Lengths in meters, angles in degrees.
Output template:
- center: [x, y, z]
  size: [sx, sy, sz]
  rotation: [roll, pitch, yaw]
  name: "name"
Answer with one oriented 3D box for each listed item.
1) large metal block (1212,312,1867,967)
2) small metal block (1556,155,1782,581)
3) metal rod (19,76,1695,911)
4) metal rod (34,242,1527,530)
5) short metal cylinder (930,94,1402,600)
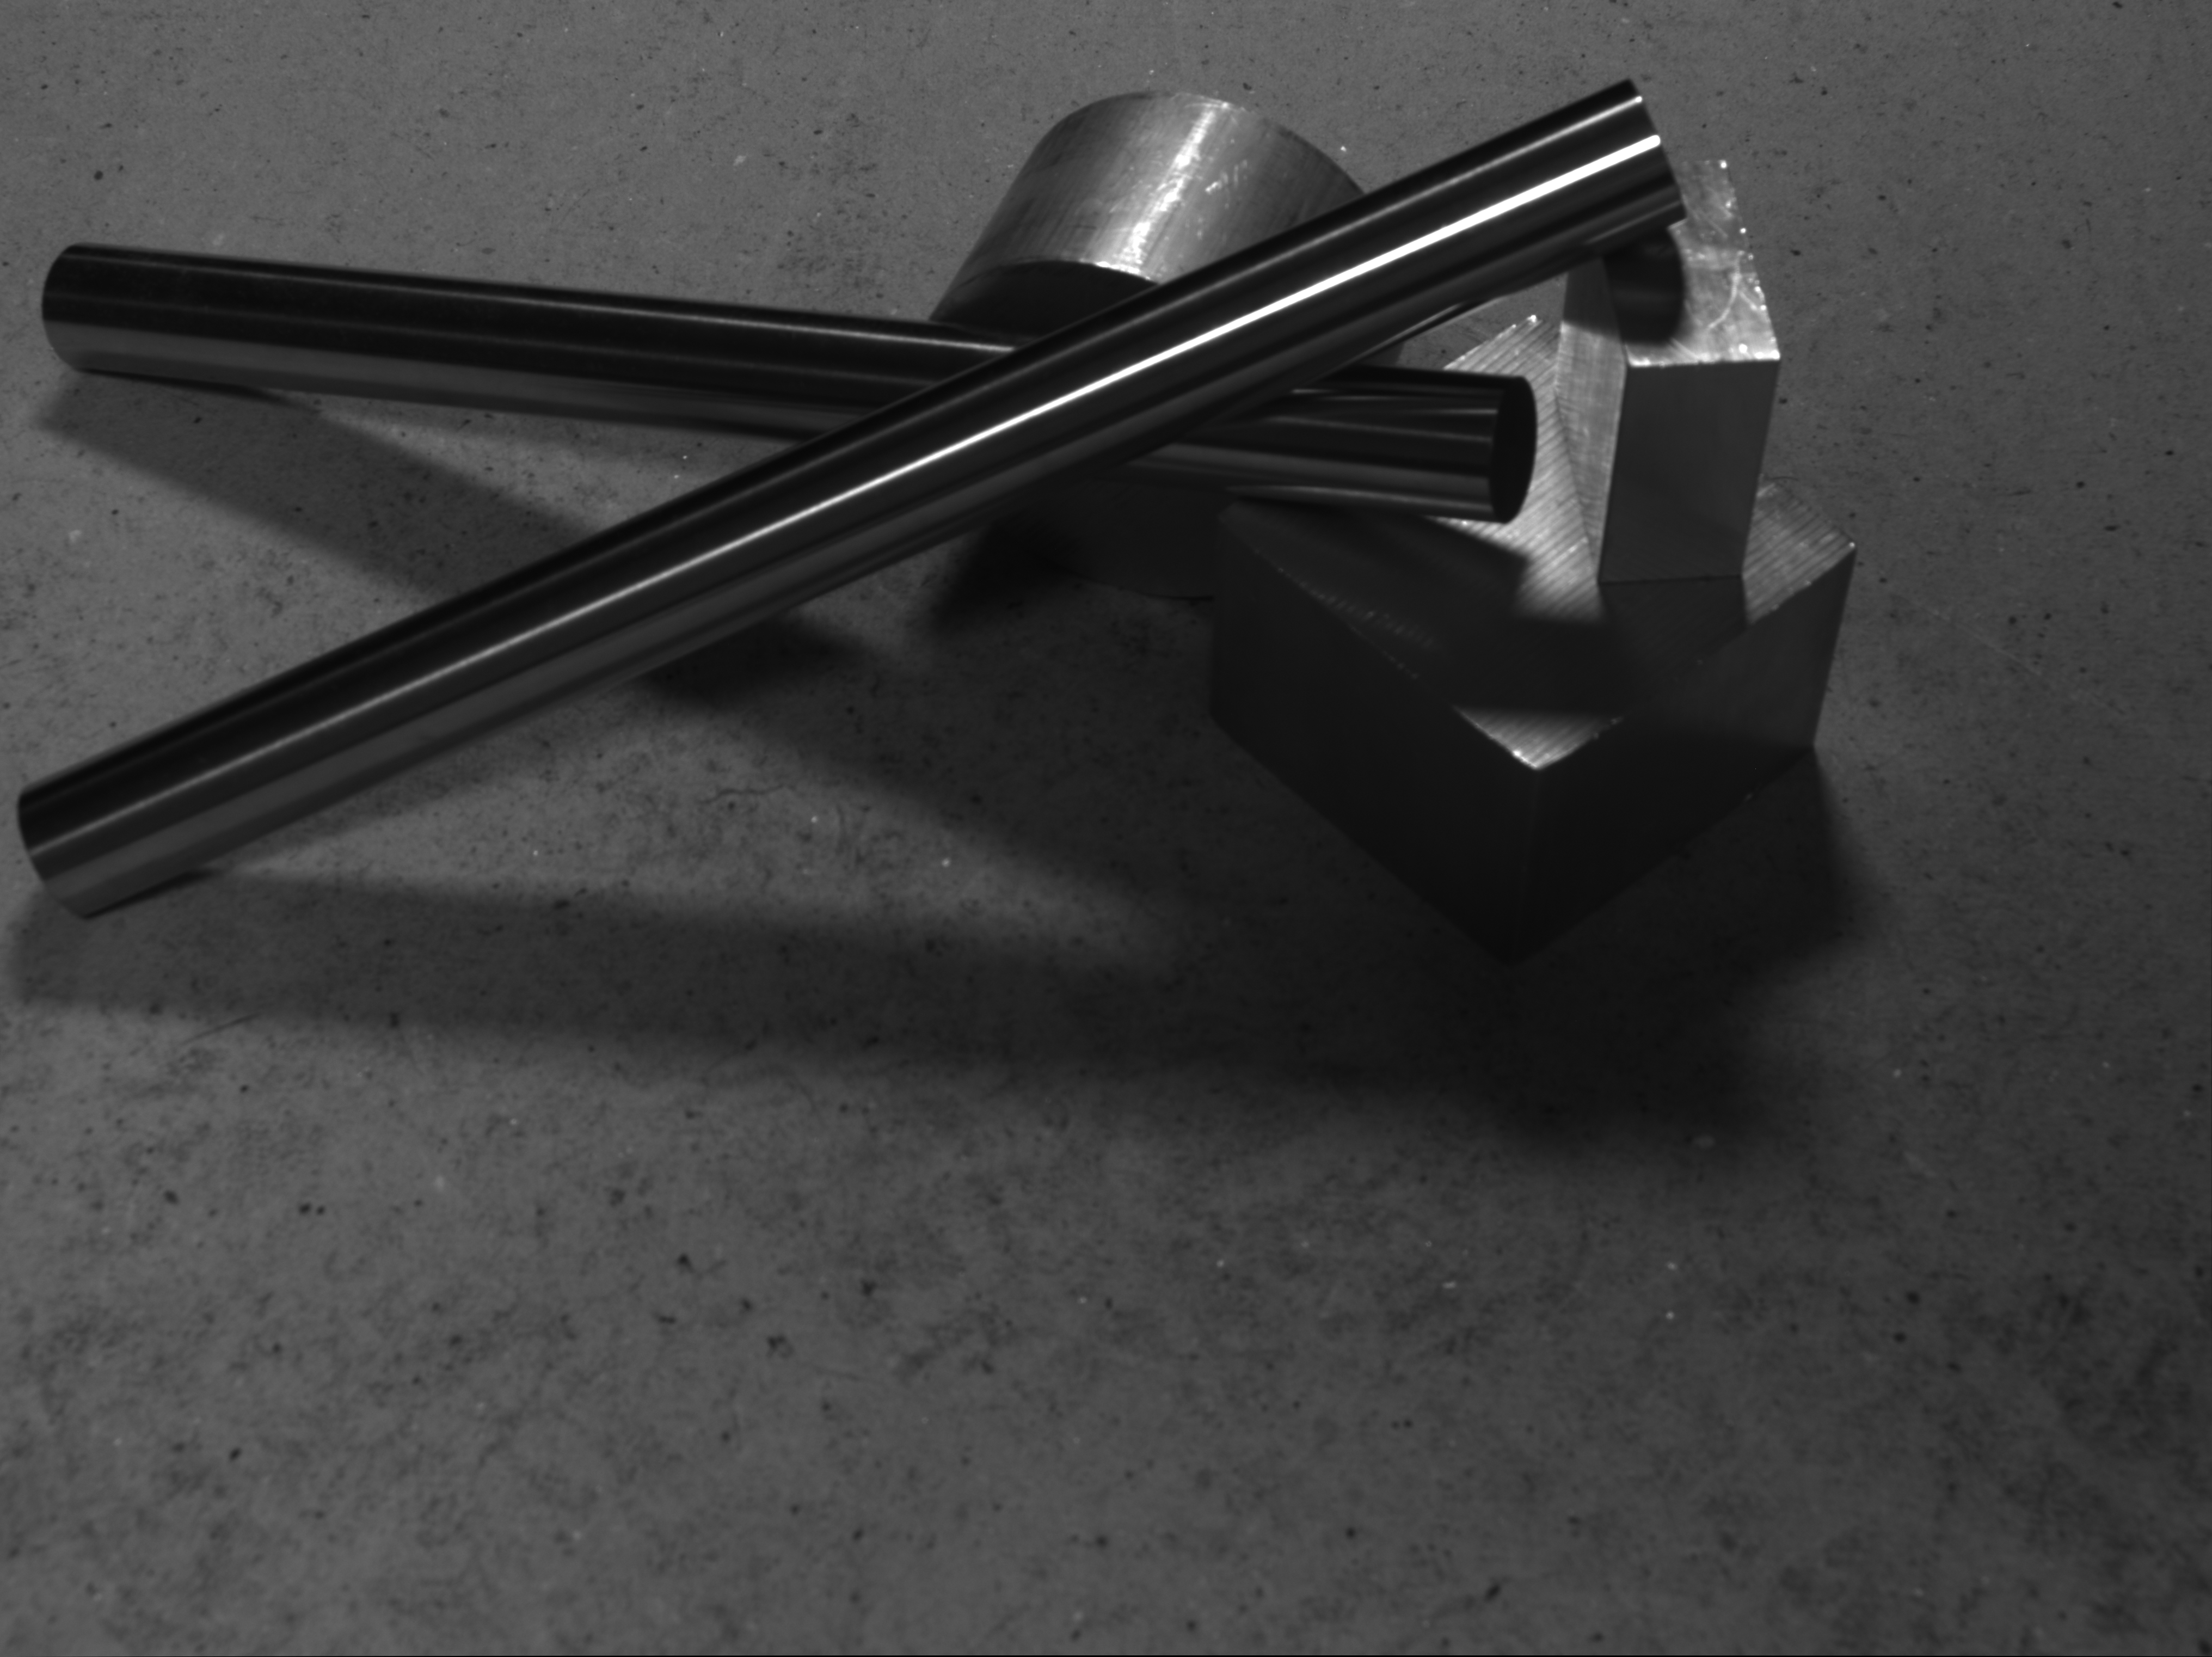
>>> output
- center: [0.075, -0.035, 0.654]
  size: [0.080, 0.050, 0.080]
  rotation: [-34, 57, -24]
  name: "large metal block"
- center: [0.095, -0.078, 0.623]
  size: [0.025, 0.050, 0.050]
  rotation: [-4, 50, -2]
  name: "small metal block"
- center: [-0.046, -0.054, 0.618]
  size: [0.300, 0.025, 0.025]
  rotation: [-23, 50, 8]
  name: "metal rod"
- center: [-0.070, -0.084, 0.676]
  size: [0.299, 0.025, 0.025]
  rotation: [9, 49, 22]
  name: "metal rod"
- center: [0.011, -0.089, 0.683]
  size: [0.080, 0.080, 0.050]
  rotation: [16, 52, 13]
  name: "short metal cylinder"
